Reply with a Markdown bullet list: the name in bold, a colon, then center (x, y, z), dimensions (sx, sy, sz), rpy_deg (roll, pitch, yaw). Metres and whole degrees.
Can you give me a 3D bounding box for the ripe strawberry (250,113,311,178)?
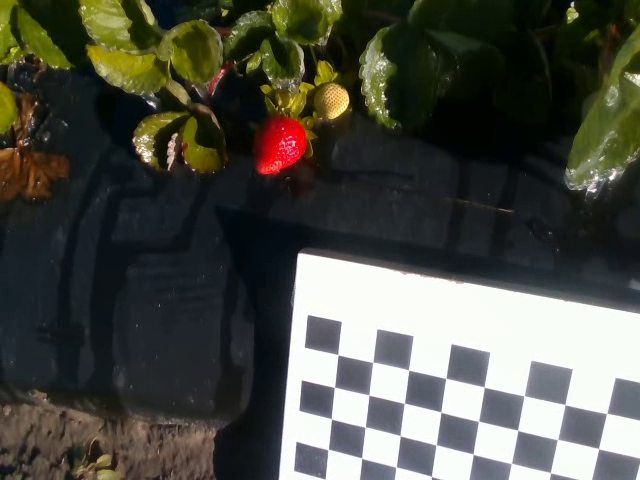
- **ripe strawberry**: center (-0.023, -0.045, 0.362), dimensions (0.039, 0.040, 0.039), rpy_deg (3, 40, 27)
